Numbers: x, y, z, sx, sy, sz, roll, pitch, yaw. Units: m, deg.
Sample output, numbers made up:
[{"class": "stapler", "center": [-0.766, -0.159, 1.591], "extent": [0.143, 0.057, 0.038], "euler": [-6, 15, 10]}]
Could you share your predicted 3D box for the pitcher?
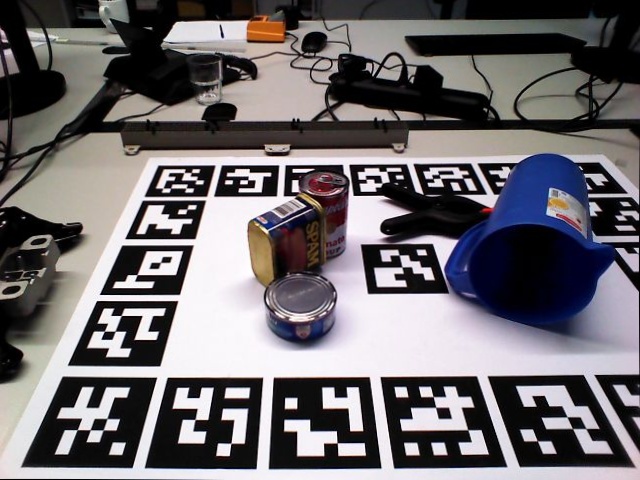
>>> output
[{"class": "pitcher", "center": [0.272, -0.013, 0.650], "extent": [0.190, 0.133, 0.241], "euler": [-6, 25, 29]}]

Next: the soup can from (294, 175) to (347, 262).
[{"class": "soup can", "center": [0.002, -0.028, 0.706], "extent": [0.068, 0.102, 0.067], "euler": [-2, 40, 2]}]

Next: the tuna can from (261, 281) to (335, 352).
[{"class": "tuna can", "center": [-0.025, 0.089, 0.609], "extent": [0.086, 0.034, 0.085], "euler": [-1, 40, 0]}]

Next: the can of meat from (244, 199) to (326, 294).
[{"class": "can of meat", "center": [-0.044, 0.011, 0.649], "extent": [0.083, 0.102, 0.058], "euler": [-28, 47, -25]}]

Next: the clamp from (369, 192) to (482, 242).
[{"class": "clamp", "center": [0.159, -0.032, 0.776], "extent": [0.165, 0.037, 0.121], "euler": [3, 34, -1]}]
